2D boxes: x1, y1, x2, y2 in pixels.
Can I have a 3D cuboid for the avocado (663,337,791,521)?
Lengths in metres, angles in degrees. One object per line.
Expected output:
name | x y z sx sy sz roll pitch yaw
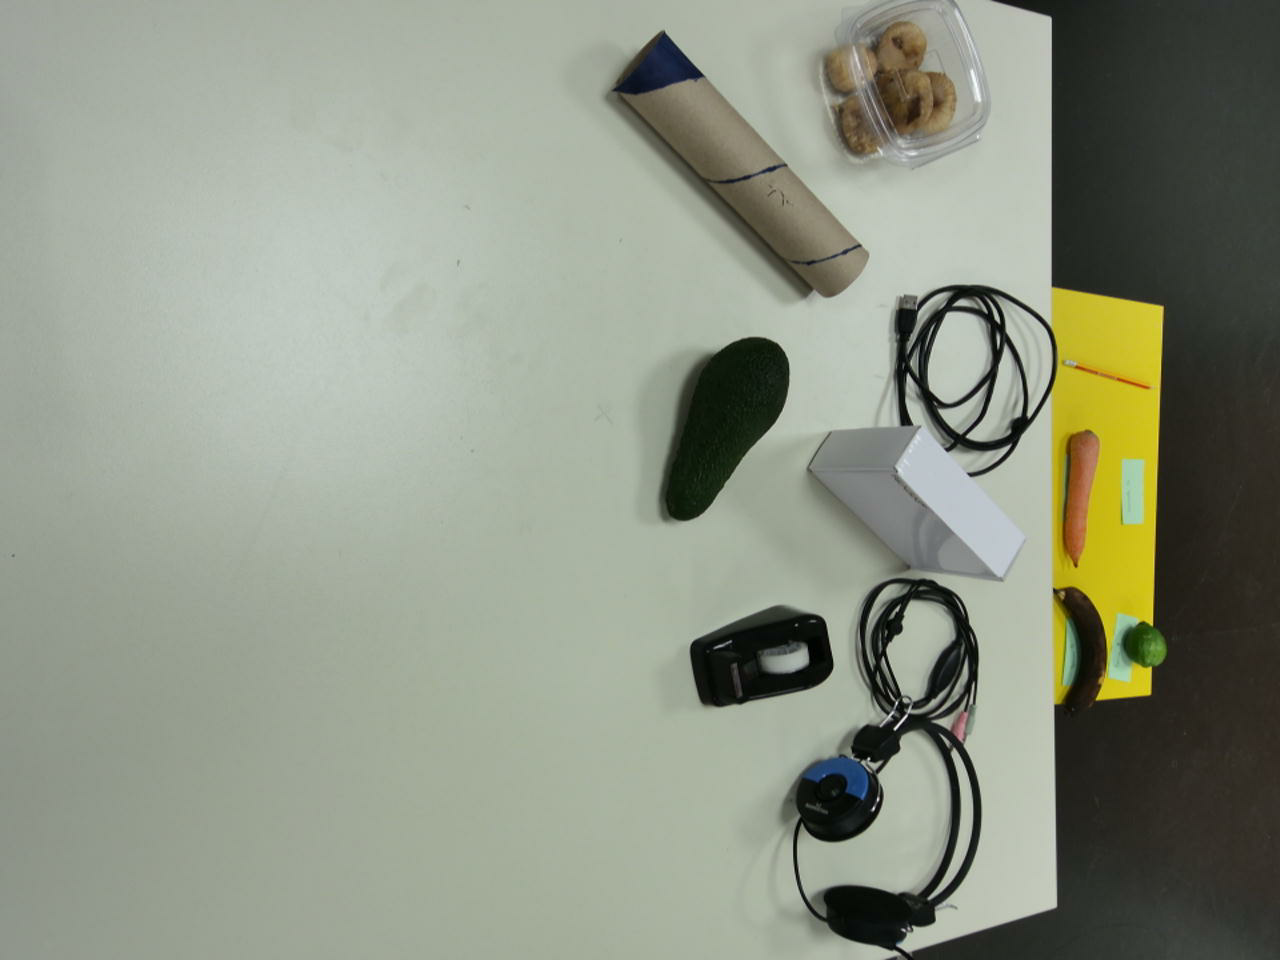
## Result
avocado | 0.065 -0.033 0.697 0.063 0.067 0.141 16 83 -27
